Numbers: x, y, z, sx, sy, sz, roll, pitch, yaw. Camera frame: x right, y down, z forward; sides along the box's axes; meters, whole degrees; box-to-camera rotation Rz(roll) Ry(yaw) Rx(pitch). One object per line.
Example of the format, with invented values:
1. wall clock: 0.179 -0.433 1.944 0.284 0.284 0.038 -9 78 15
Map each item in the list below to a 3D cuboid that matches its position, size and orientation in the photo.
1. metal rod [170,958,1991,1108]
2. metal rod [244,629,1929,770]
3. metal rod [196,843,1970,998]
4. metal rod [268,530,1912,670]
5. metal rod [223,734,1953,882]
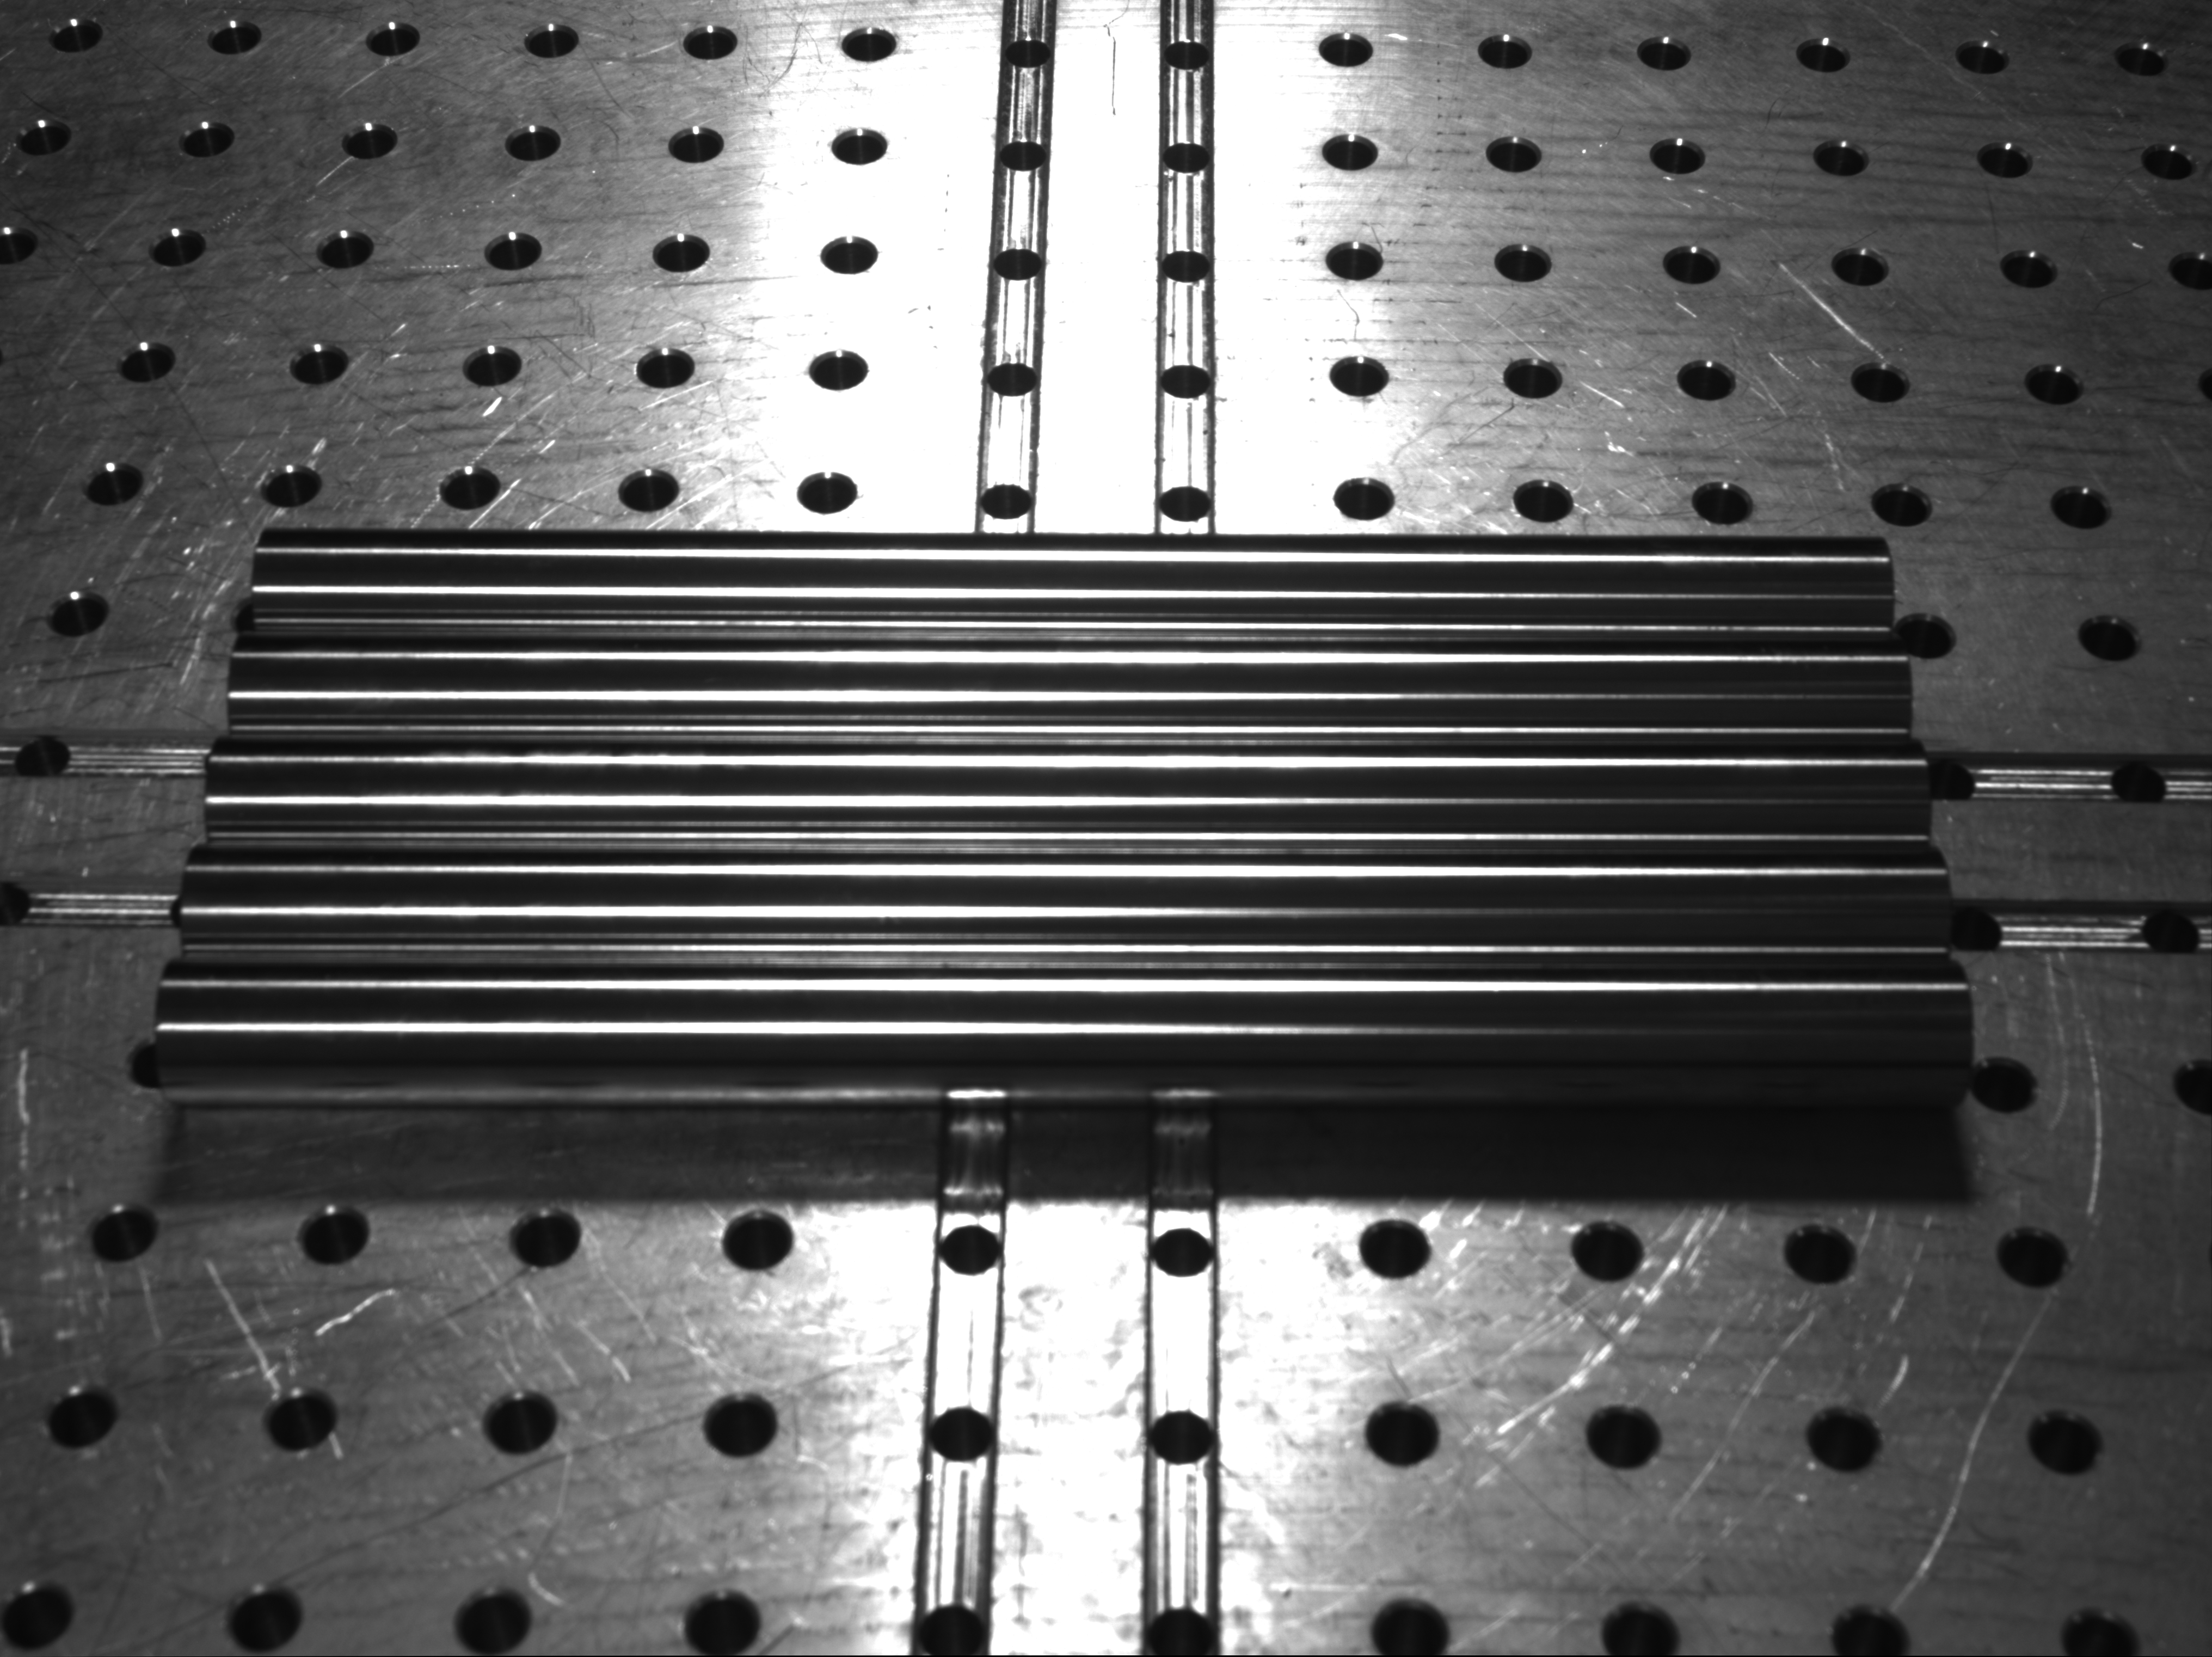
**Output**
1. metal rod: -0.004 0.034 0.616 0.300 0.025 0.025 0 50 0
2. metal rod: -0.003 -0.023 0.665 0.300 0.025 0.025 0 50 0
3. metal rod: -0.004 0.016 0.631 0.300 0.025 0.025 0 50 0
4. metal rod: -0.003 -0.042 0.681 0.300 0.025 0.025 0 50 0
5. metal rod: -0.003 -0.003 0.648 0.300 0.025 0.025 0 50 0
